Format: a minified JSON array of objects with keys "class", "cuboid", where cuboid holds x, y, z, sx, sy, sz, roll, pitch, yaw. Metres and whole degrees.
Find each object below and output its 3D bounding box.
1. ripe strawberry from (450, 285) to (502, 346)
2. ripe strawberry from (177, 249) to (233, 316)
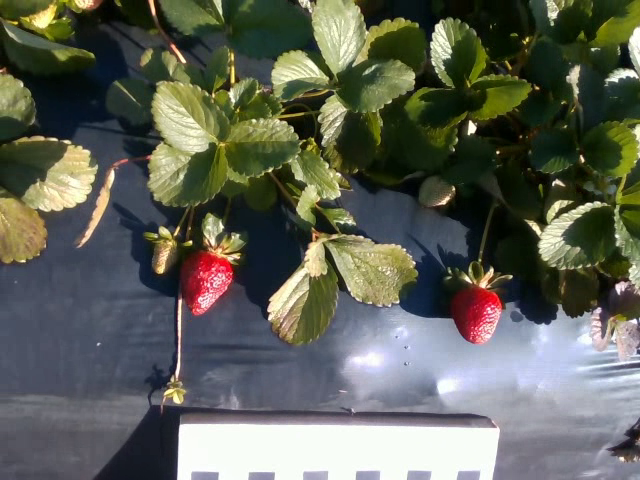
[{"class":"ripe strawberry","cuboid":[0.118,0.061,0.448,0.042,0.050,0.043,39,-42,-19]},{"class":"ripe strawberry","cuboid":[-0.085,0.032,0.419,0.042,0.053,0.043,15,-31,-15]}]
